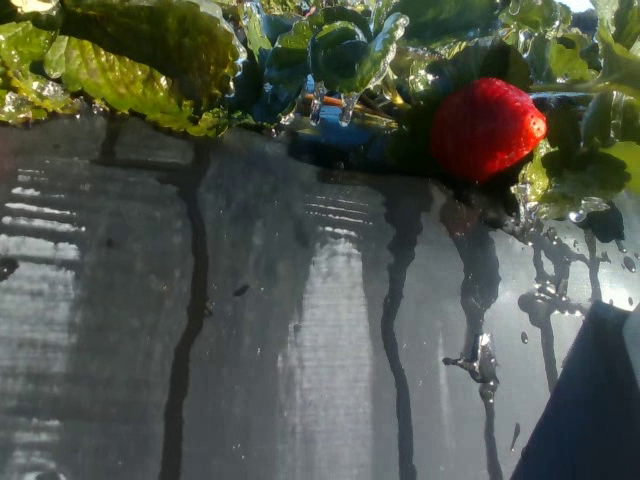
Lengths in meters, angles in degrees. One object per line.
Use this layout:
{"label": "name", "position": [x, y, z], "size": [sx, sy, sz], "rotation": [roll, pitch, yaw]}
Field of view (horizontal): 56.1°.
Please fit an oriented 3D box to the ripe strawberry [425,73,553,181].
{"label": "ripe strawberry", "position": [0.063, -0.041, 0.210], "size": [0.041, 0.047, 0.053], "rotation": [6, 6, -4]}
